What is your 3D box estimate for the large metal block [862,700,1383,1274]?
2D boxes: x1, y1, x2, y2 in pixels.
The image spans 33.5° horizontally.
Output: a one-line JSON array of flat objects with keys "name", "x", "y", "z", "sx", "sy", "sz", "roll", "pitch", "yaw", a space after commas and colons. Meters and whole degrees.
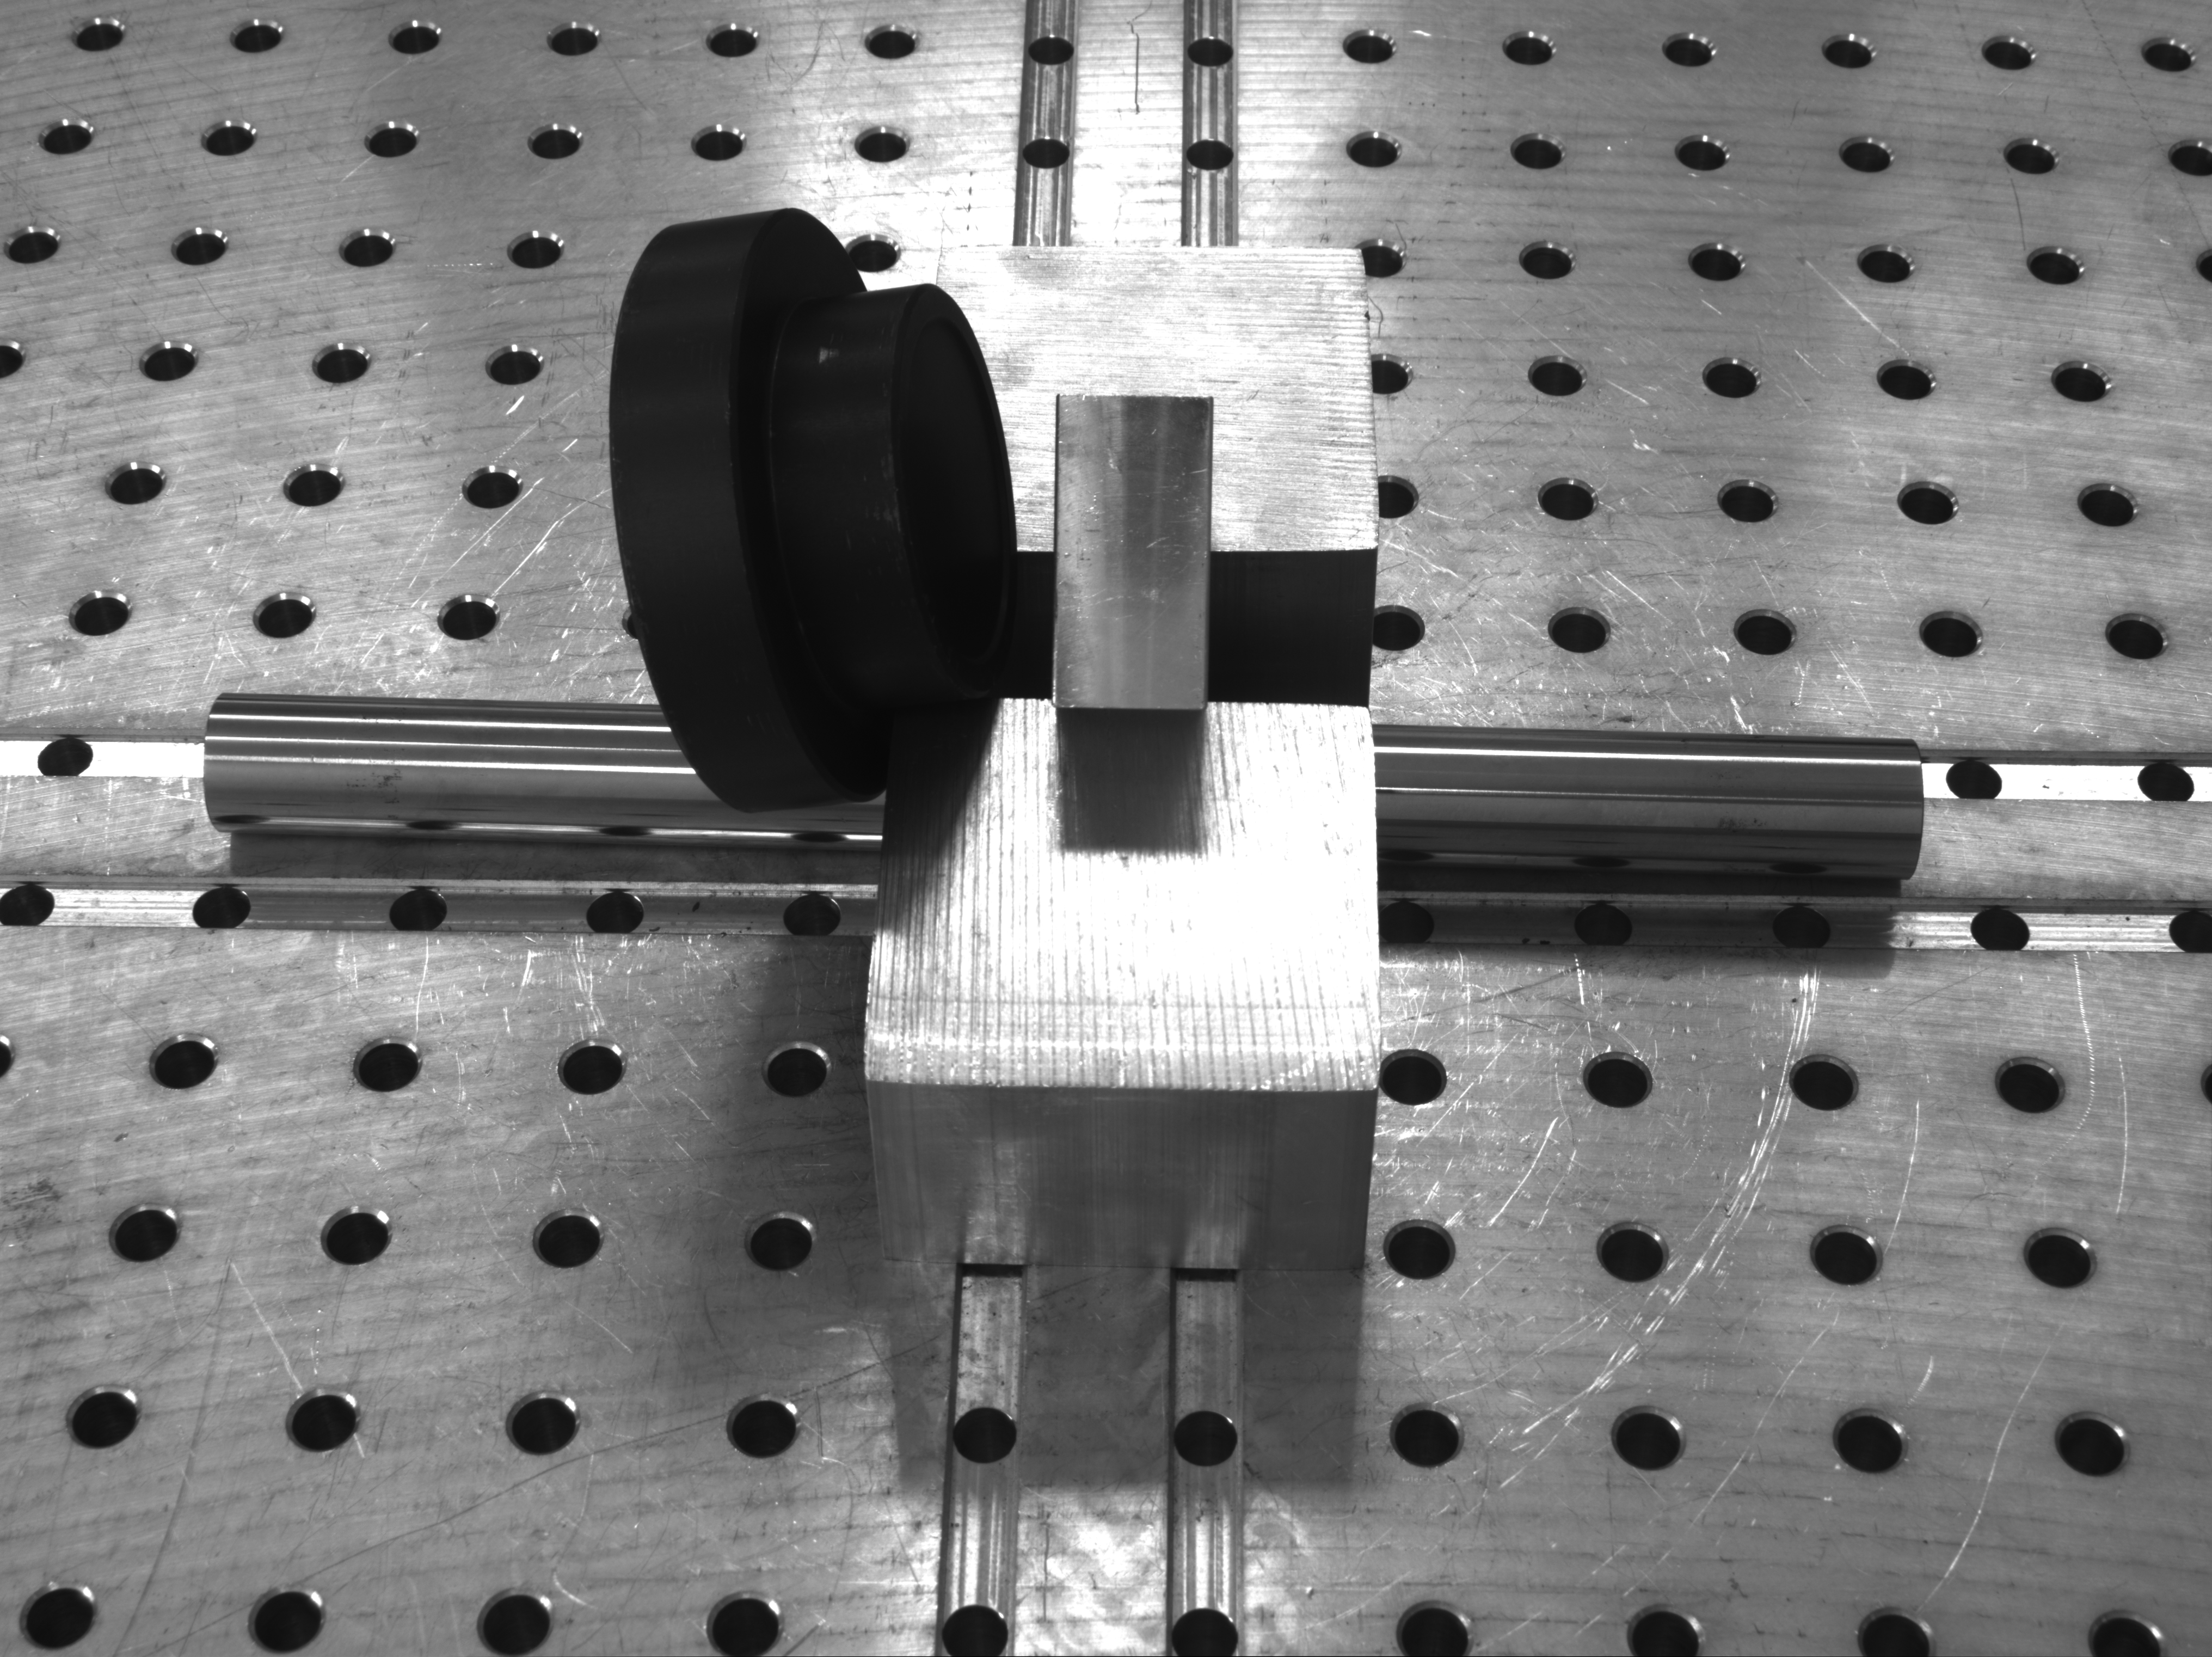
[{"name": "large metal block", "x": 0.004, "y": 0.025, "z": 0.608, "sx": 0.080, "sy": 0.050, "sz": 0.080, "roll": 1, "pitch": 50, "yaw": 1}]

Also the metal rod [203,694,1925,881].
[{"name": "metal rod", "x": -0.008, "y": -0.007, "z": 0.652, "sx": 0.300, "sy": 0.025, "sz": 0.025, "roll": 2, "pitch": 50, "yaw": 1}]

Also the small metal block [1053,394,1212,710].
[{"name": "small metal block", "x": 0.005, "y": -0.047, "z": 0.611, "sx": 0.025, "sy": 0.050, "sz": 0.050, "roll": 1, "pitch": 6, "yaw": 1}]

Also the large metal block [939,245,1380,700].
[{"name": "large metal block", "x": 0.008, "y": -0.062, "z": 0.682, "sx": 0.080, "sy": 0.050, "sz": 0.080, "roll": 1, "pitch": 50, "yaw": 1}]

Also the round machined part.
[{"name": "round machined part", "x": -0.044, "y": -0.053, "z": 0.605, "sx": 0.042, "sy": 0.098, "sz": 0.098, "roll": -6, "pitch": 49, "yaw": 14}]
